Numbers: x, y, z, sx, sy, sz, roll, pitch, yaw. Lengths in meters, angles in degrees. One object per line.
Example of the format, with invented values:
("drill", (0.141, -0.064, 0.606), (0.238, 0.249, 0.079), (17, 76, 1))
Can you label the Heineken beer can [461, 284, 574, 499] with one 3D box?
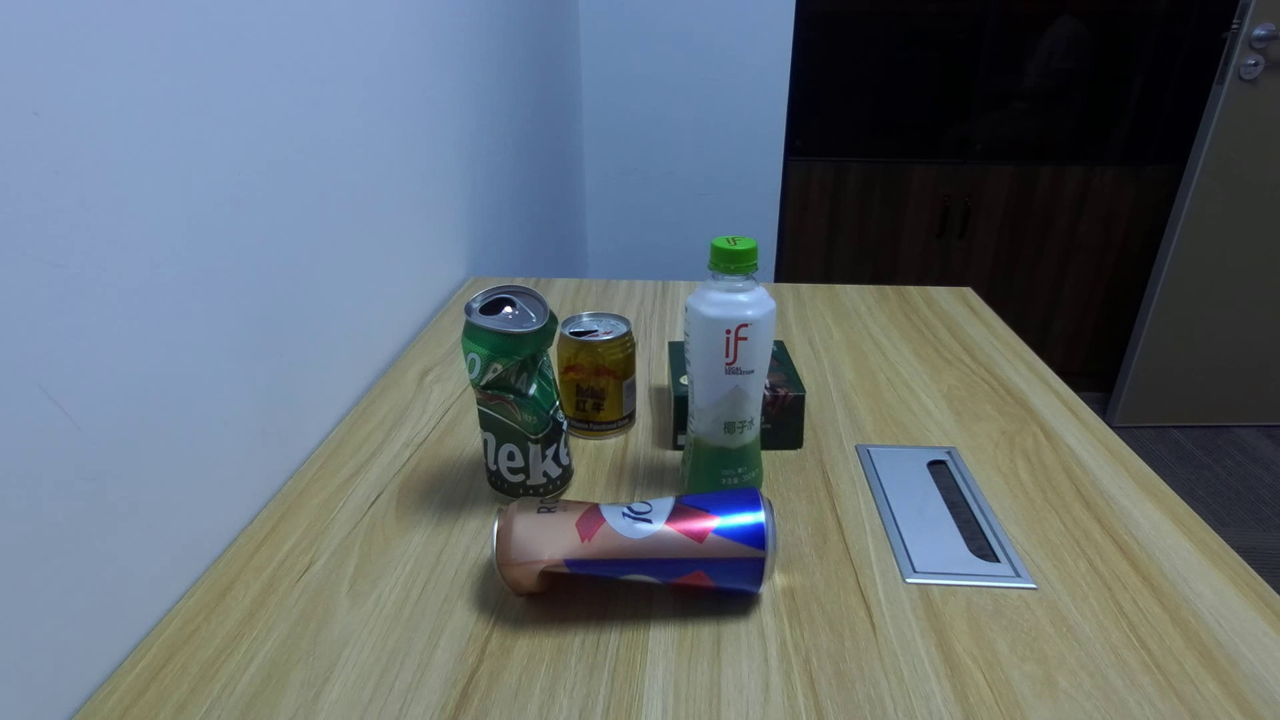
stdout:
("Heineken beer can", (-0.086, 0.027, 0.504), (0.067, 0.159, 0.078), (-13, 34, -18))

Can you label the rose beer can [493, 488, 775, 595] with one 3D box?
("rose beer can", (-0.003, 0.110, 0.430), (0.168, 0.069, 0.070), (-2, 44, 1))

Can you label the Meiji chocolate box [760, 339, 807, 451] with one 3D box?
("Meiji chocolate box", (0.081, 0.029, 0.615), (0.109, 0.056, 0.110), (-1, 25, 0))

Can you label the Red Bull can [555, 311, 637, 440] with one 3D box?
("Red Bull can", (-0.036, 0.012, 0.602), (0.069, 0.092, 0.069), (0, 25, 0))

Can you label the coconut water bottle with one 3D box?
("coconut water bottle", (0.062, 0.010, 0.492), (0.063, 0.189, 0.063), (0, 24, 0))
